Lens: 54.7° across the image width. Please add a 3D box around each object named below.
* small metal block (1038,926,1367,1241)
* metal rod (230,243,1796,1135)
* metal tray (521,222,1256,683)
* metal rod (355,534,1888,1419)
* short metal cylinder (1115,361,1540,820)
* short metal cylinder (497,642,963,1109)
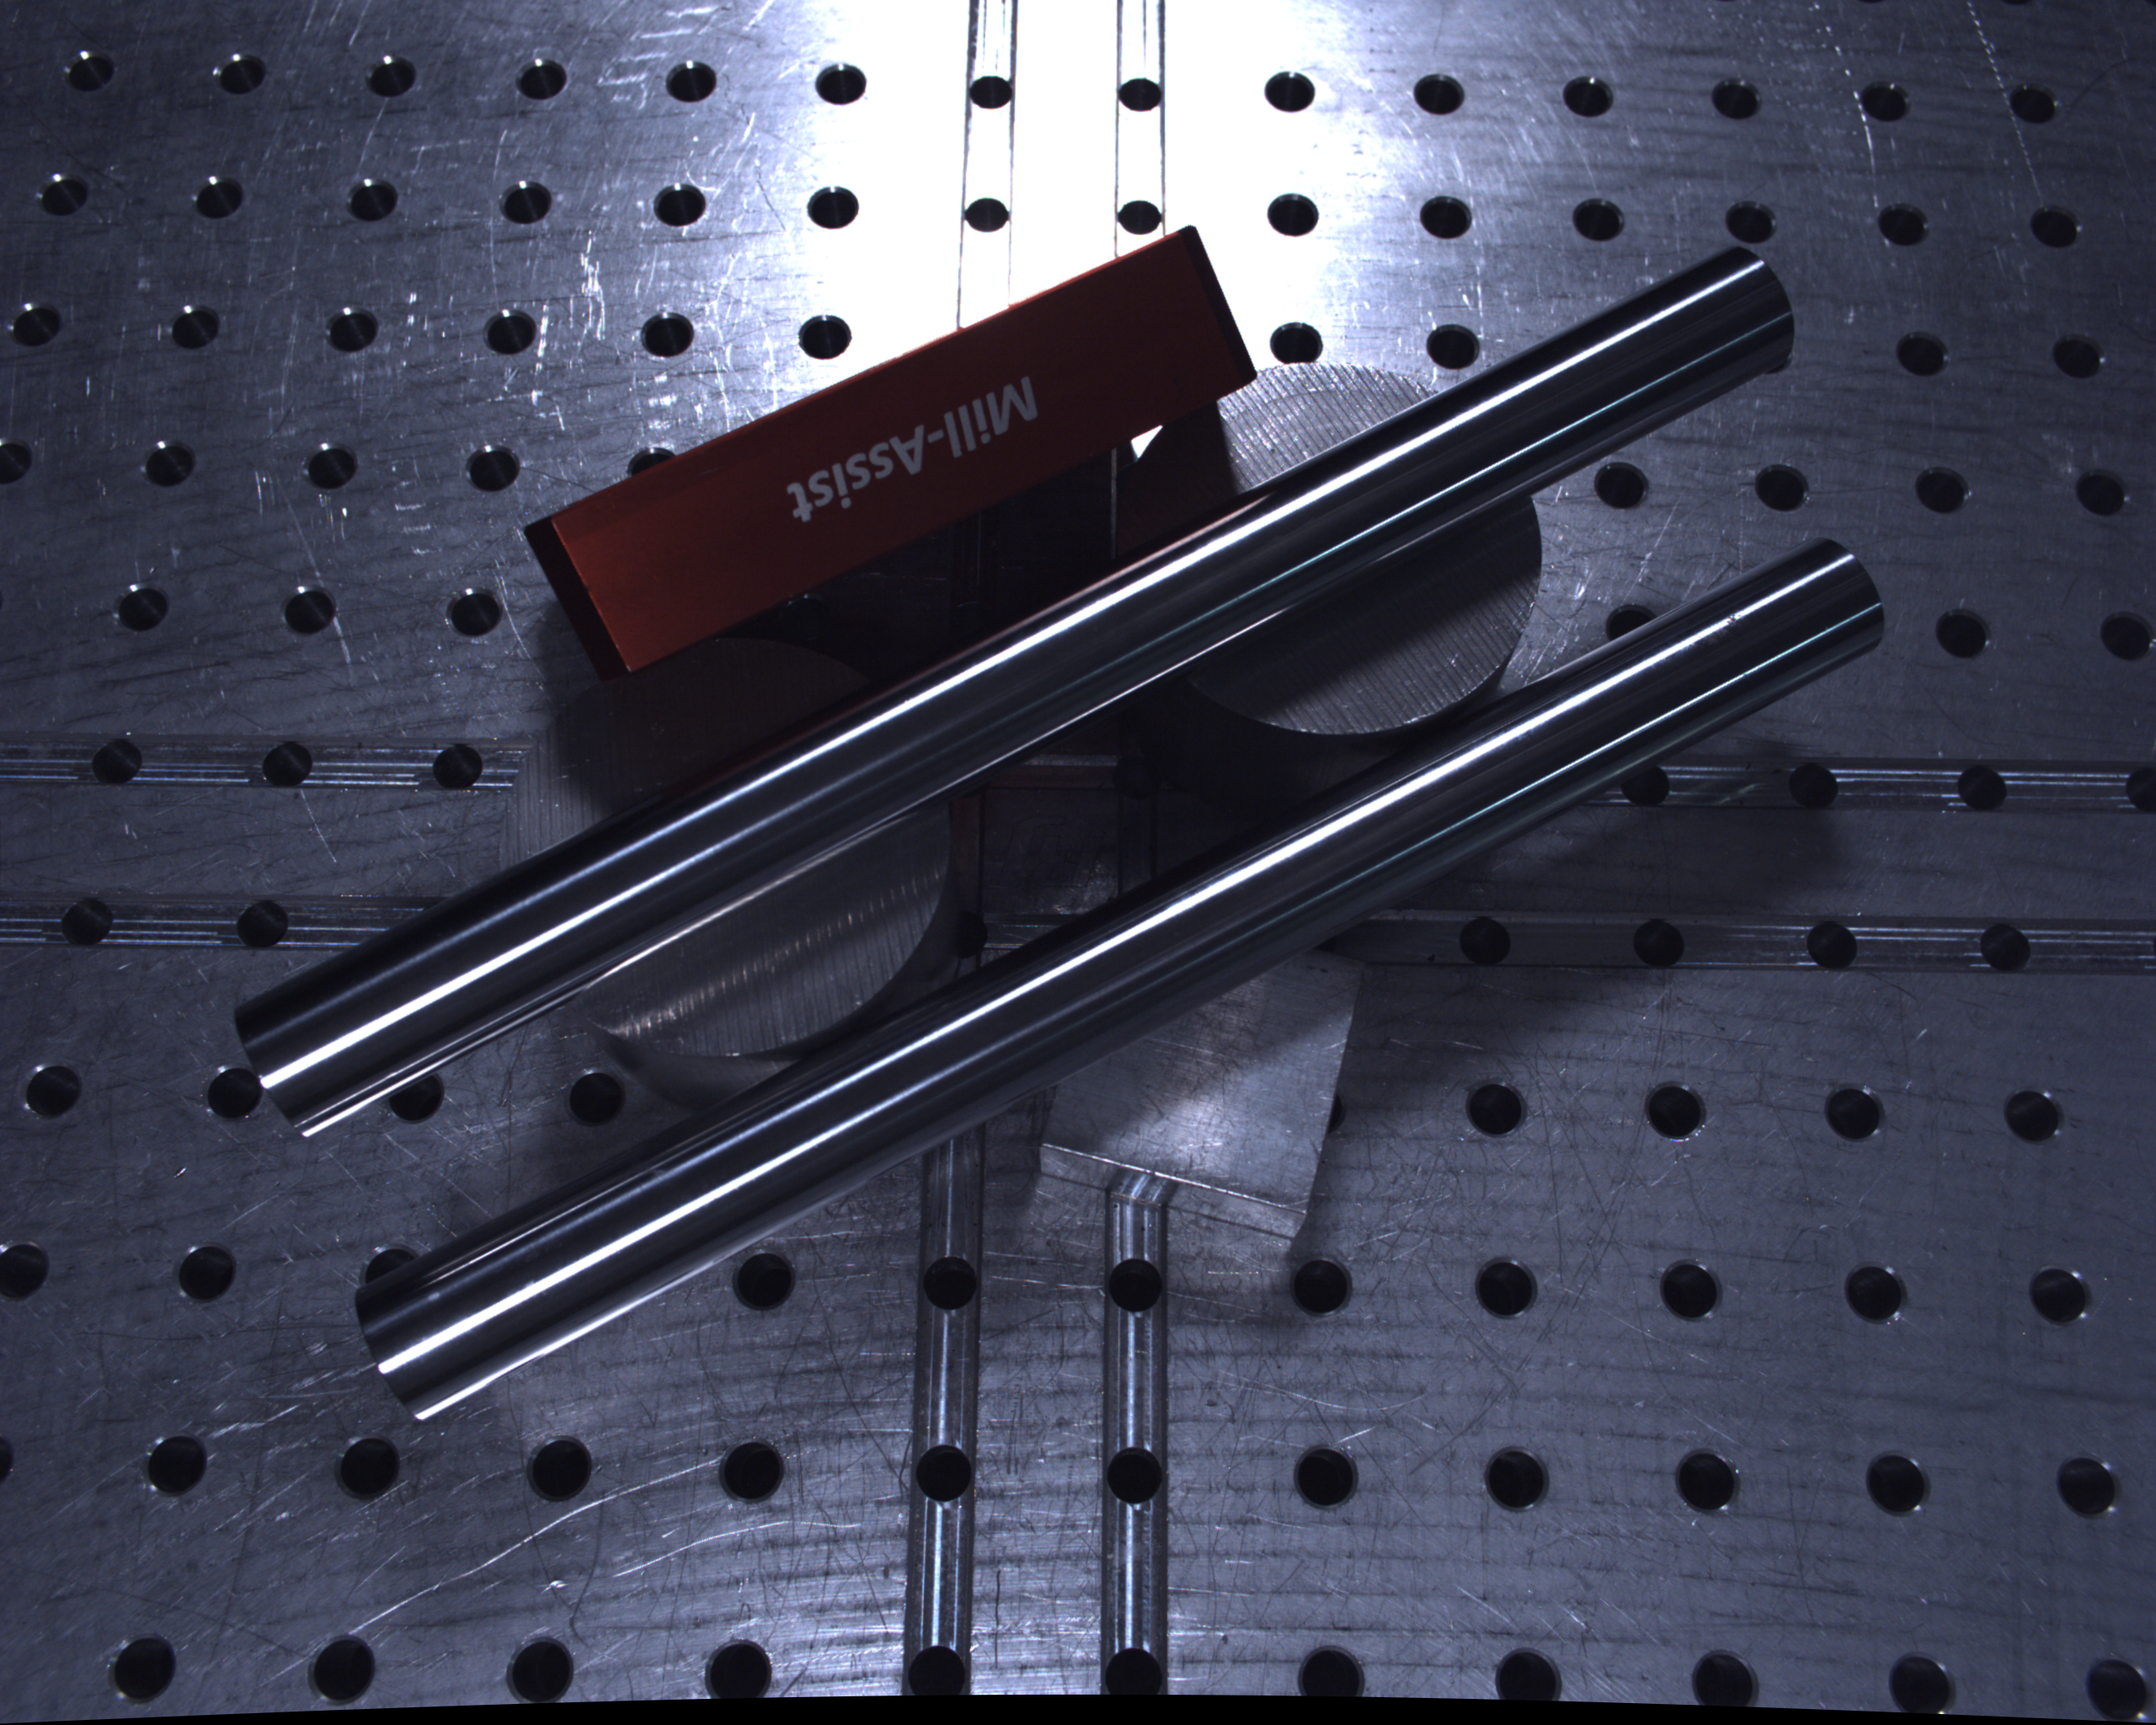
[{"bbox_3d":[0.023,0.039,0.397,0.050,0.025,0.050,14,71,4],"label":"small metal block"},{"bbox_3d":[-0.002,-0.036,0.371,0.302,0.025,0.025,-28,73,-10],"label":"metal rod"},{"bbox_3d":[-0.041,-0.079,0.404,0.131,0.090,0.030,-27,105,-10],"label":"metal tray"},{"bbox_3d":[0.016,0.015,0.379,0.302,0.025,0.025,-27,73,-10],"label":"metal rod"},{"bbox_3d":[0.047,-0.053,0.419,0.081,0.050,0.080,0,70,0],"label":"short metal cylinder"},{"bbox_3d":[-0.063,0.005,0.396,0.081,0.050,0.080,0,70,0],"label":"short metal cylinder"}]
